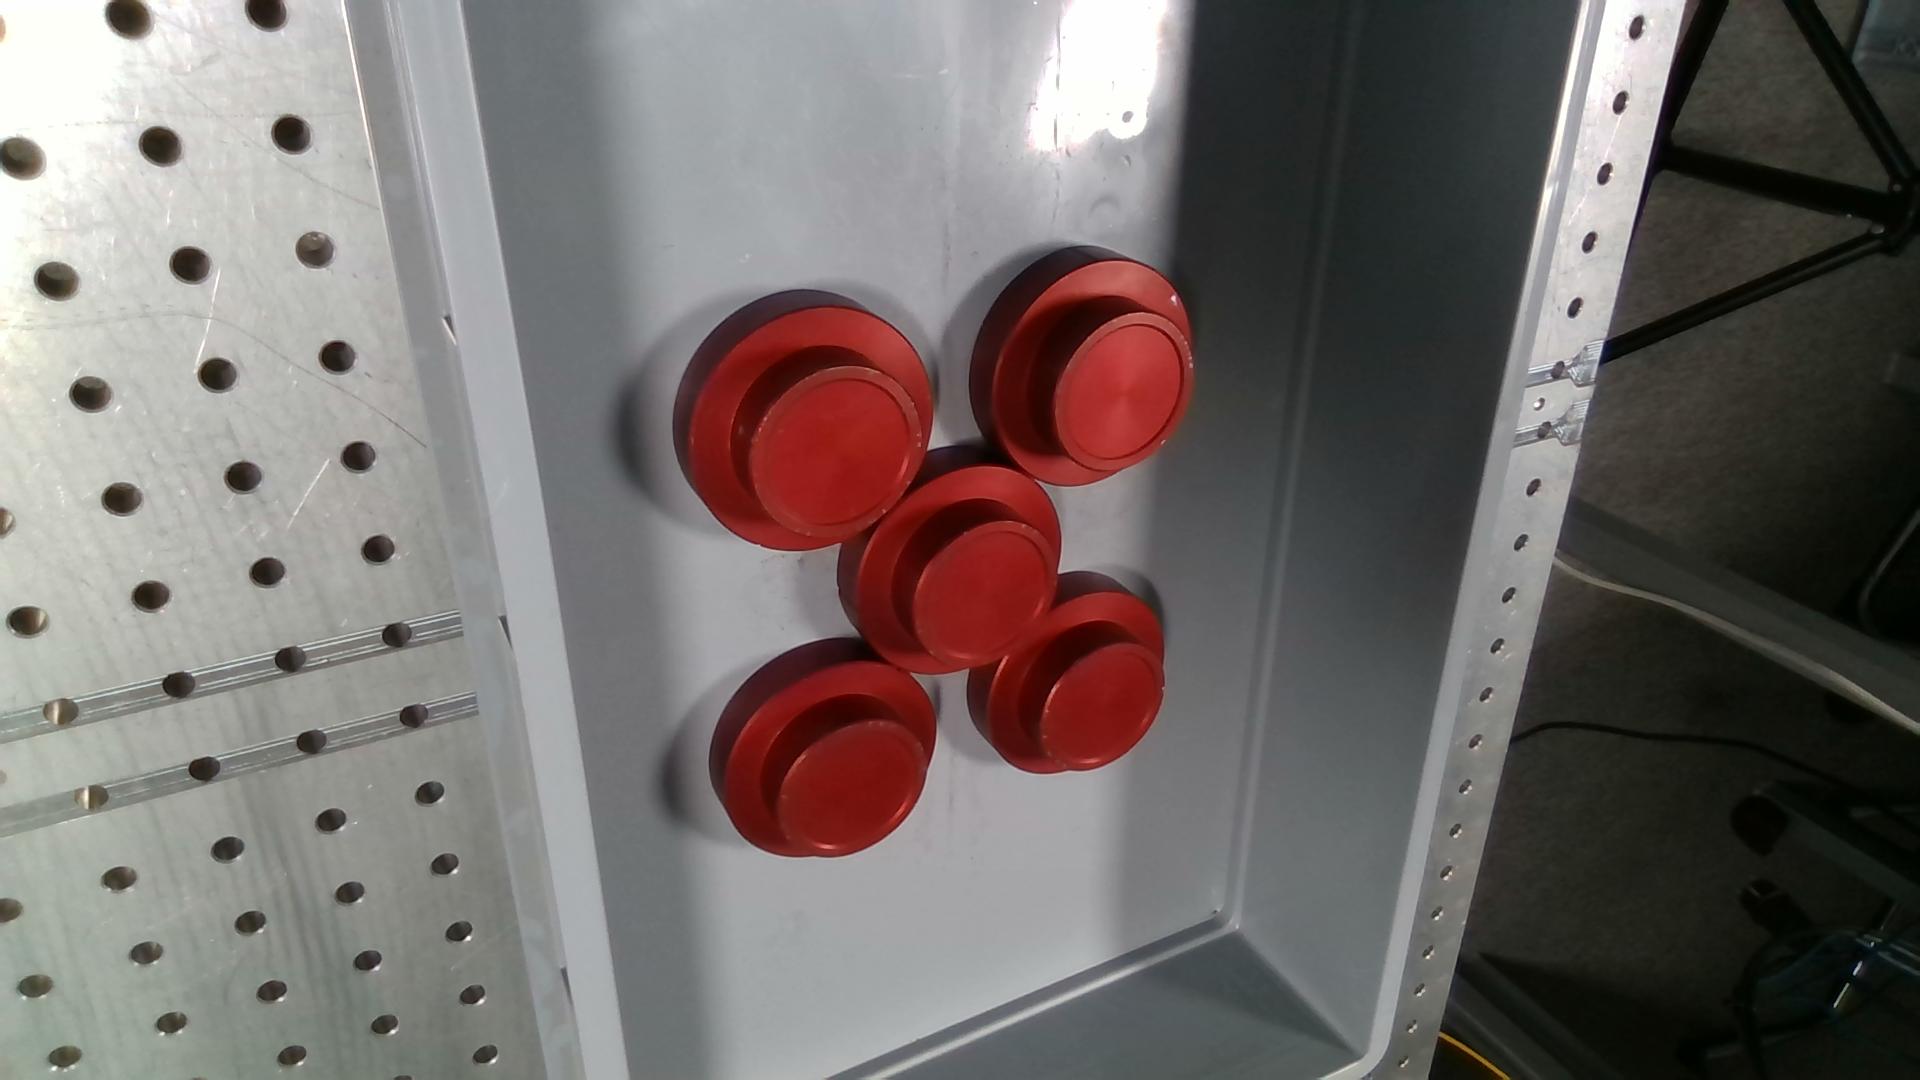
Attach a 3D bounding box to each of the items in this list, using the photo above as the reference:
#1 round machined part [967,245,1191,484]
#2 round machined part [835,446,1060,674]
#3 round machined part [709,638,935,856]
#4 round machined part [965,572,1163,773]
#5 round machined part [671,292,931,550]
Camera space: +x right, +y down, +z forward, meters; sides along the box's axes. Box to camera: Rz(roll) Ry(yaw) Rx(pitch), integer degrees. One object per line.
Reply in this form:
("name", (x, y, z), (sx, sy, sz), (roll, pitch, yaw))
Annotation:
("round machined part", (0.055, -0.068, 0.566), (0.098, 0.042, 0.098), (-14, 122, -25))
("round machined part", (0.001, 0.014, 0.575), (0.098, 0.042, 0.098), (-14, 122, -25))
("round machined part", (-0.054, 0.094, 0.587), (0.098, 0.042, 0.098), (-14, 122, -25))
("round machined part", (0.055, 0.067, 0.638), (0.098, 0.042, 0.098), (-14, 122, -25))
("round machined part", (-0.054, -0.040, 0.514), (0.098, 0.042, 0.098), (-14, 122, -25))
